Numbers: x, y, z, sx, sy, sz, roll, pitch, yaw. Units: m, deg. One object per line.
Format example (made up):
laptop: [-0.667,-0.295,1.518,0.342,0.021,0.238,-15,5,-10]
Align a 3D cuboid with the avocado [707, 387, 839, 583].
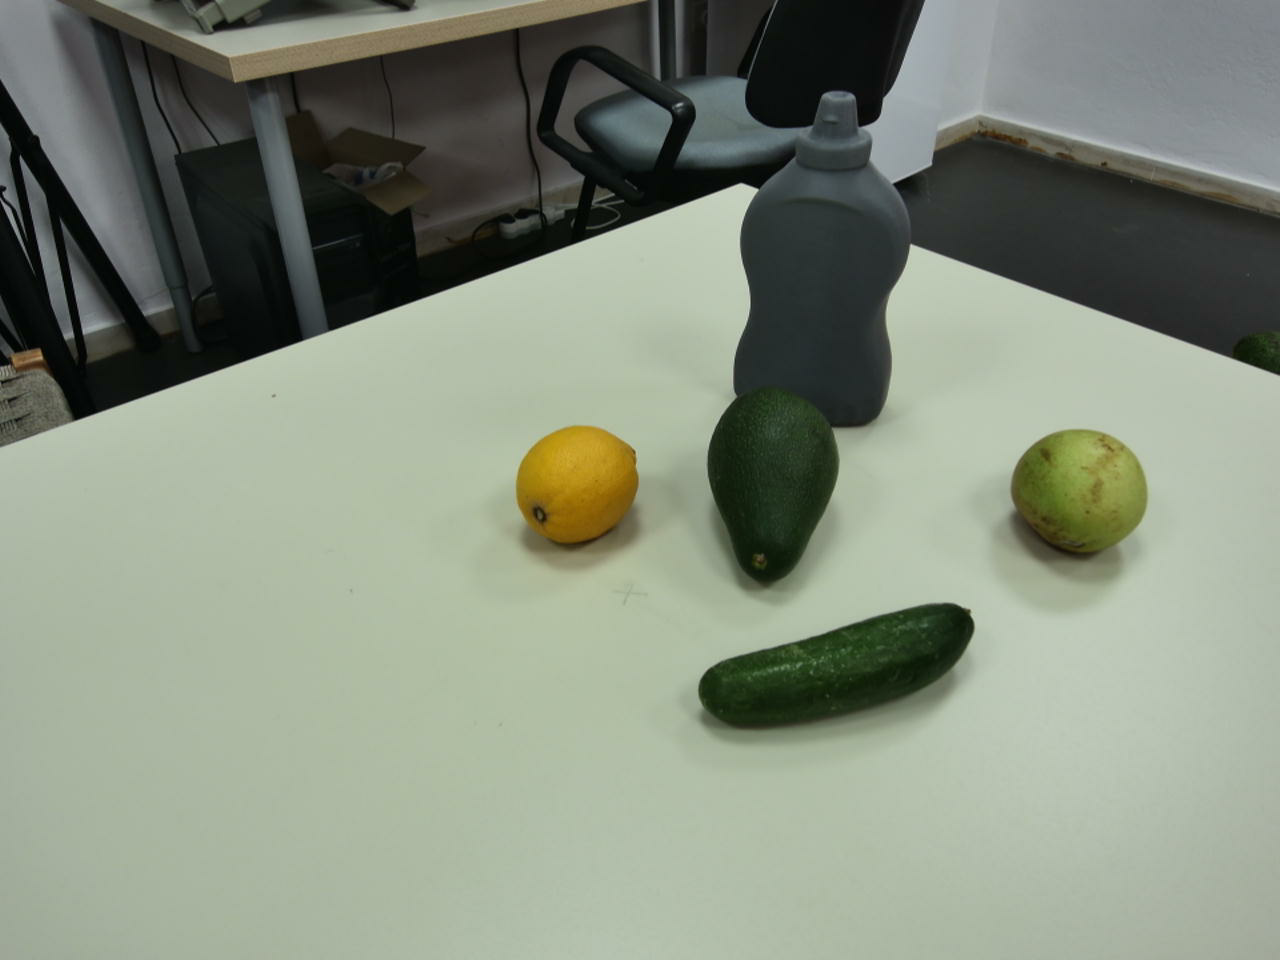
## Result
avocado: [0.066,-0.002,0.529,0.073,0.071,0.109,17,39,22]
